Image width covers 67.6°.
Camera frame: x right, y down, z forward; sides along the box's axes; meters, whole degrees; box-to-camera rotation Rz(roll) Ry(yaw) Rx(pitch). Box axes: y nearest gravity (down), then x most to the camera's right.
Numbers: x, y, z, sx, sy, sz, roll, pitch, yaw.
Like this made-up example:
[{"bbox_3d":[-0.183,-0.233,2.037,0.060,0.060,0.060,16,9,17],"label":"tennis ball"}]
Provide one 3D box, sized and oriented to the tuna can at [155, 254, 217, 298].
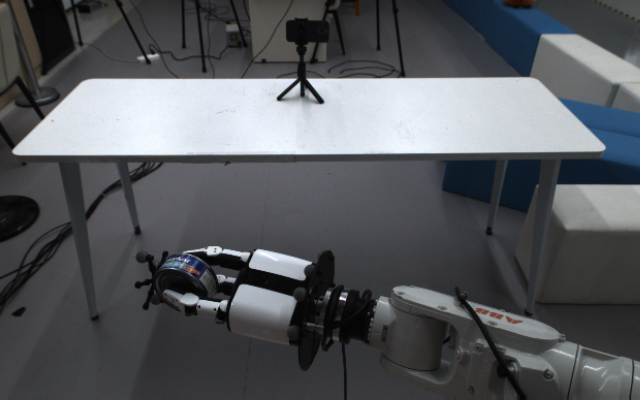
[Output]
[{"bbox_3d":[-0.186,0.121,0.677,0.085,0.085,0.034,9,34,10],"label":"tuna can"}]
